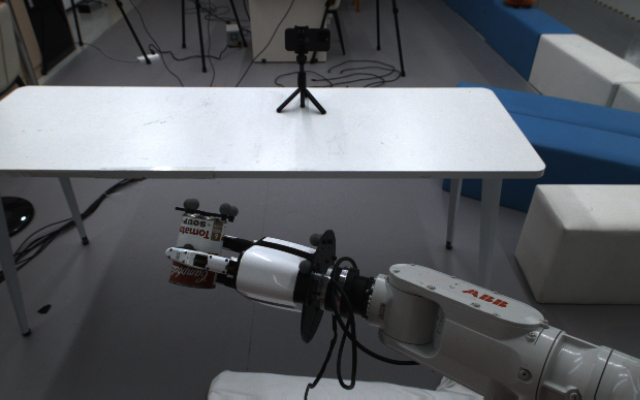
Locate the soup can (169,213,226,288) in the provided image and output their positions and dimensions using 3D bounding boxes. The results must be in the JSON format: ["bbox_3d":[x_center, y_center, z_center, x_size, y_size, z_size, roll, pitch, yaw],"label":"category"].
[{"bbox_3d":[-0.178,0.077,0.712,0.067,0.101,0.067,9,-5,1],"label":"soup can"}]
